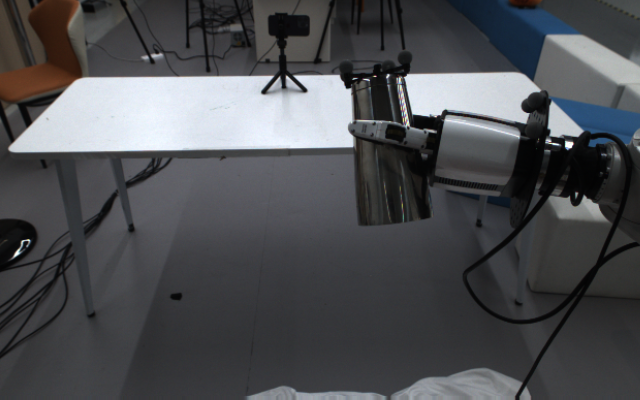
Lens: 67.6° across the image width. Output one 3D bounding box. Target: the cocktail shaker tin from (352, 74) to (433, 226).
[{"bbox_3d":[0.081,-0.059,0.588,0.093,0.170,0.093,-8,1,0],"label":"cocktail shaker tin"}]
